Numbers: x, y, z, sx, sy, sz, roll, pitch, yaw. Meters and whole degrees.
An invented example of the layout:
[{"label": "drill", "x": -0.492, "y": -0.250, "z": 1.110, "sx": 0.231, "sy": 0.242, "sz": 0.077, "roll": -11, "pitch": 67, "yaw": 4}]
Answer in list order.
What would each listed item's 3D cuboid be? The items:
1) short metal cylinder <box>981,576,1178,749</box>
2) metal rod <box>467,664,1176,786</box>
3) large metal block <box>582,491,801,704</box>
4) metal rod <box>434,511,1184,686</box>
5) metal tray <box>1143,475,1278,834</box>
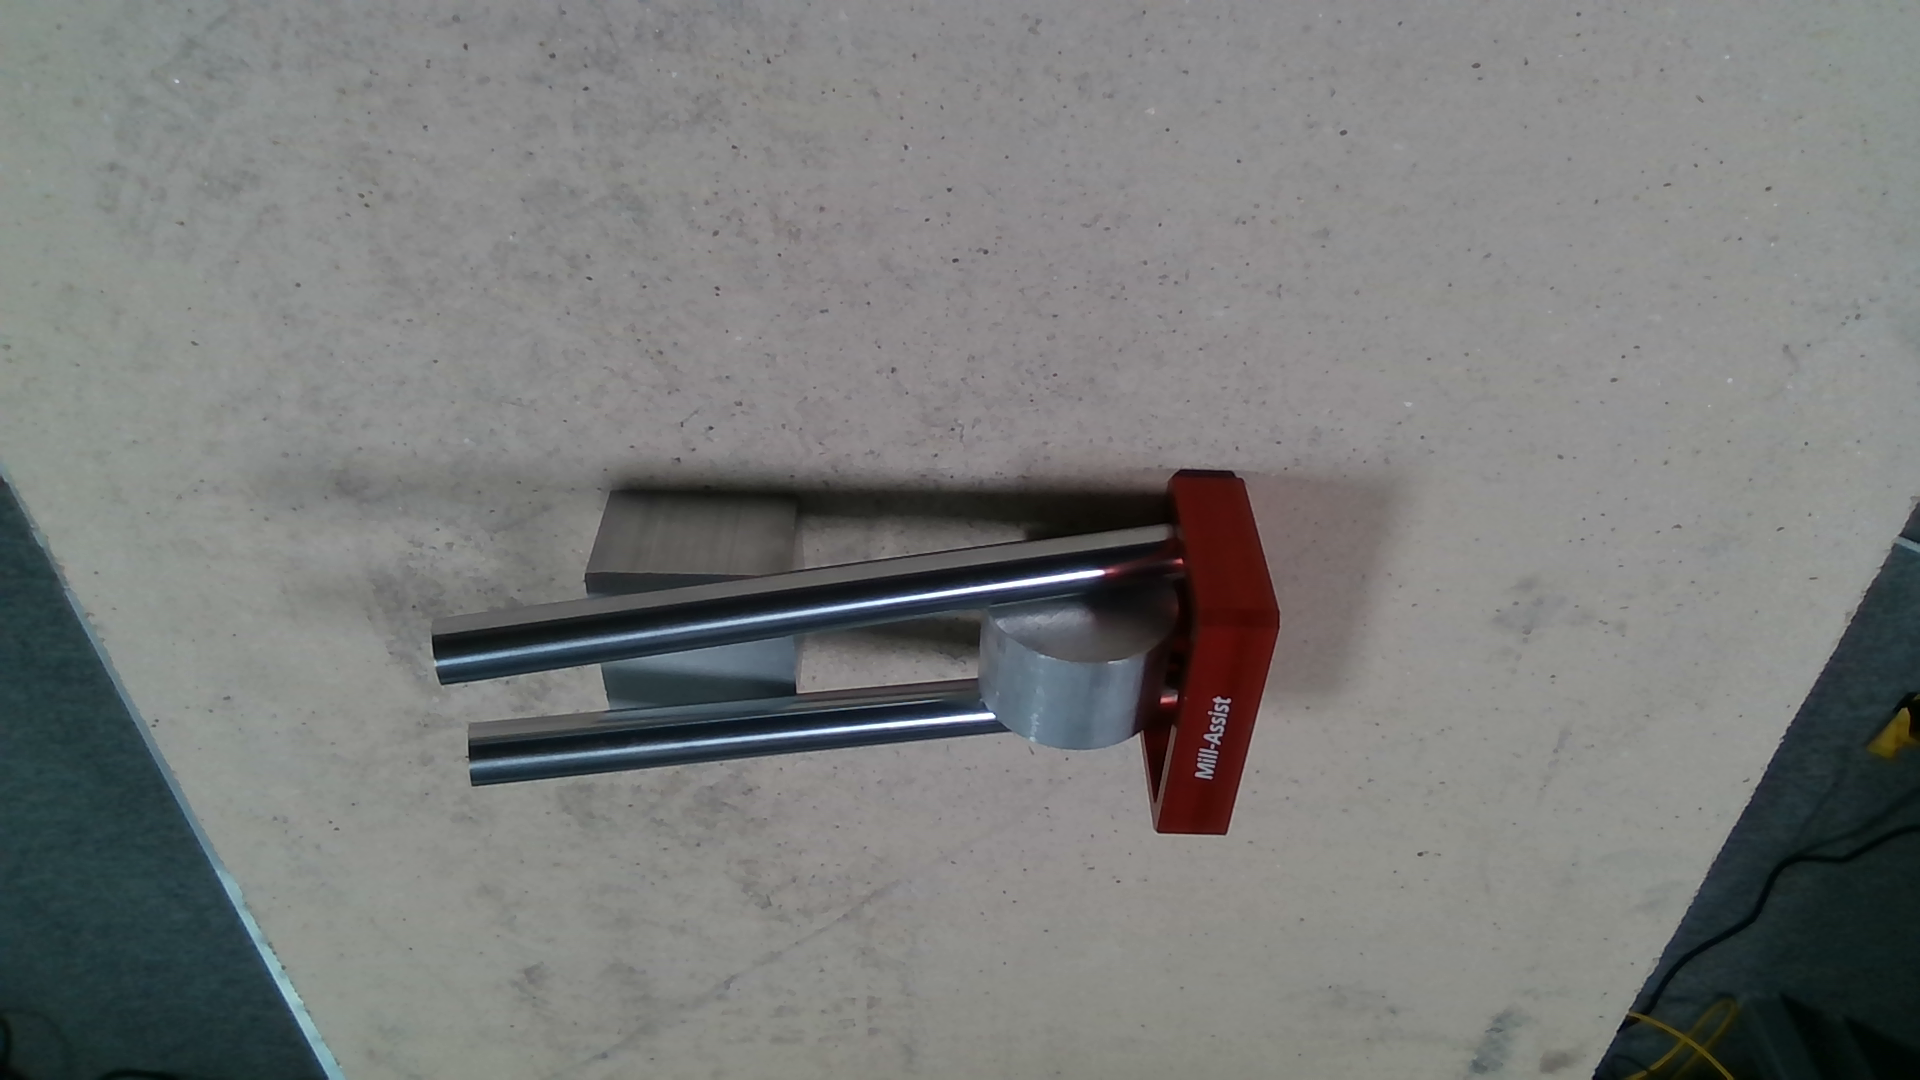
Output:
[{"label": "short metal cylinder", "x": 0.048, "y": 0.041, "z": 0.578, "sx": 0.080, "sy": 0.080, "sz": 0.050, "roll": 1, "pitch": 130, "yaw": -1}, {"label": "metal rod", "x": -0.048, "y": 0.075, "z": 0.582, "sx": 0.300, "sy": 0.025, "sz": 0.025, "roll": -3, "pitch": 132, "yaw": -17}, {"label": "large metal block", "x": -0.109, "y": 0.027, "z": 0.583, "sx": 0.080, "sy": 0.050, "sz": 0.080, "roll": 1, "pitch": 130, "yaw": -1}, {"label": "metal rod", "x": -0.045, "y": 0.020, "z": 0.537, "sx": 0.300, "sy": 0.025, "sz": 0.025, "roll": -8, "pitch": 131, "yaw": -13}, {"label": "metal tray", "x": 0.100, "y": 0.049, "z": 0.578, "sx": 0.030, "sy": 0.090, "sz": 0.130, "roll": 2, "pitch": 130, "yaw": -1}]
